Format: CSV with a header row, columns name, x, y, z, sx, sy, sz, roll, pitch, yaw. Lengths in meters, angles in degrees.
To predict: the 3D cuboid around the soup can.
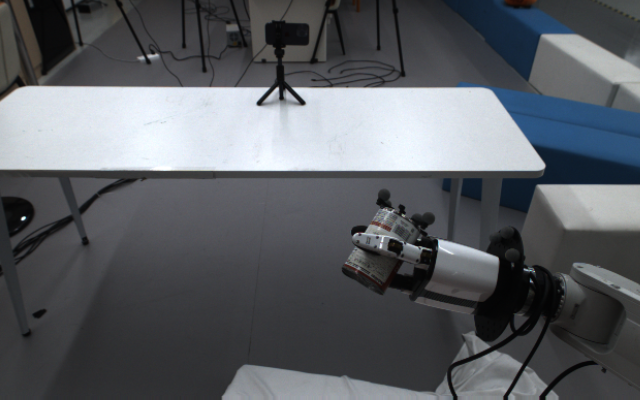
name,x,y,z,sx,sy,sz,roll,pitch,yaw
soup can,0.085,0.068,0.663,0.067,0.067,0.101,27,76,31
